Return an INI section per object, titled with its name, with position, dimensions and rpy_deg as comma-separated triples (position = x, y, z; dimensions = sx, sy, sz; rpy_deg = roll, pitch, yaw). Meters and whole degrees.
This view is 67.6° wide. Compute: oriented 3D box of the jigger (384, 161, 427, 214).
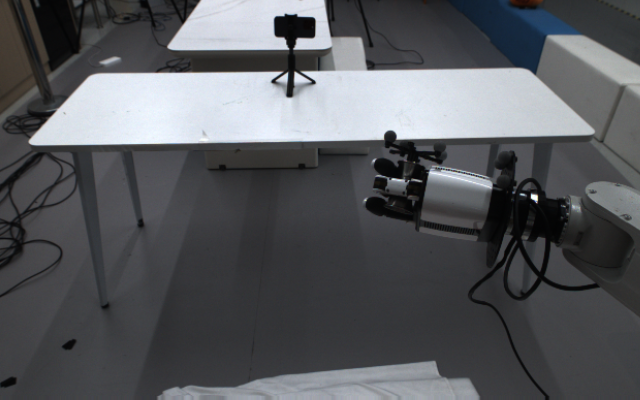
[jigger]
position = 0.122, -0.018, 0.681
dimensions = 0.043, 0.071, 0.043
rpy_deg = 16, -7, 2
